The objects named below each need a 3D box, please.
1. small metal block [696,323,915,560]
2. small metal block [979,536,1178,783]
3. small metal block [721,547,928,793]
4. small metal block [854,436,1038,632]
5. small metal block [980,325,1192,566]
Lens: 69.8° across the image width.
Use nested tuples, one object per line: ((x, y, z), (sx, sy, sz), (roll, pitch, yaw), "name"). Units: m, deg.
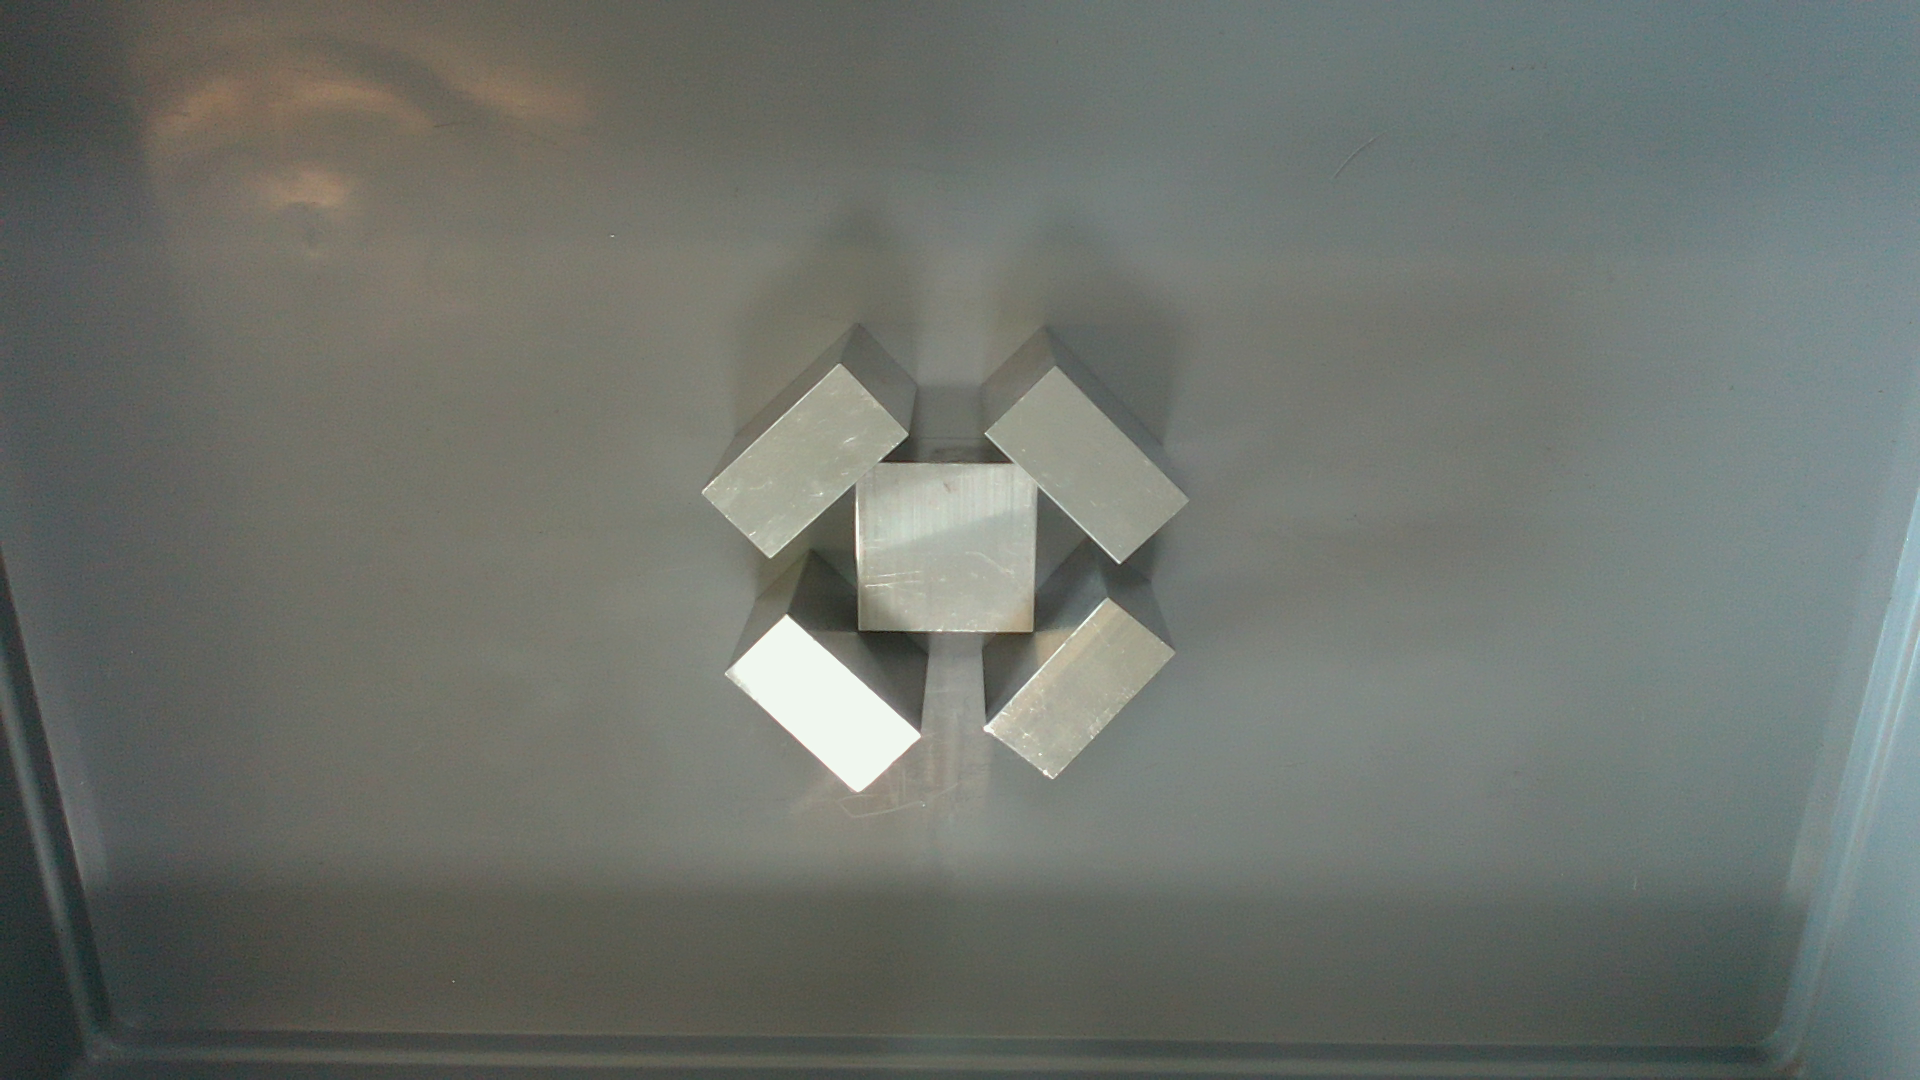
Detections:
((-0.039, -0.028, 0.368), (0.050, 0.050, 0.025), (-40, 105, 14), "small metal block")
((0.032, 0.032, 0.391), (0.025, 0.050, 0.050), (38, 105, -14), "small metal block")
((-0.037, 0.036, 0.392), (0.025, 0.050, 0.050), (-43, 105, 15), "small metal block")
((-0.004, -0.002, 0.391), (0.050, 0.025, 0.050), (1, 110, 0), "small metal block")
((0.032, -0.027, 0.369), (0.025, 0.050, 0.050), (-43, 106, 13), "small metal block")
